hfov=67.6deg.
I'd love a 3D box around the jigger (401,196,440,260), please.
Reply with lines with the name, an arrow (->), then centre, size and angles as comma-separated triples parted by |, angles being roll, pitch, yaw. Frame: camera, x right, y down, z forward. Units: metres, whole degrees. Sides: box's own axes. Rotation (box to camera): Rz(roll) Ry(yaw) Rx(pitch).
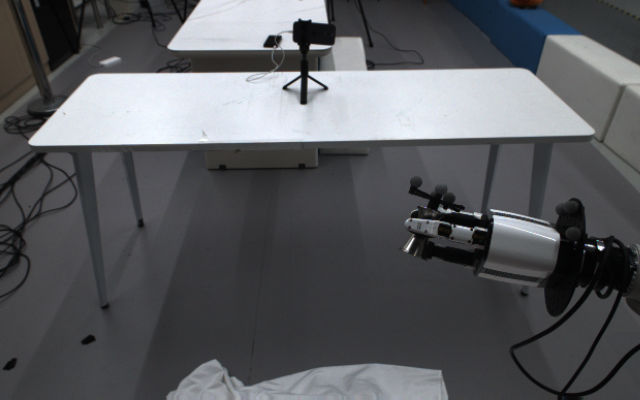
jigger -> 0.141, 0.044, 0.679 | 0.043, 0.071, 0.043 | 24, -3, 1
